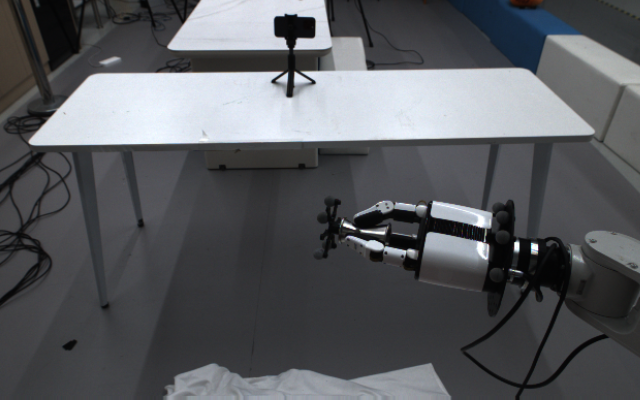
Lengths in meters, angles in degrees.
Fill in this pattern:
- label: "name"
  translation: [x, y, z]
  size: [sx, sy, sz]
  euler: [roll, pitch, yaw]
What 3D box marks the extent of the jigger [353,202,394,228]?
- label: "jigger"
  translation: [0.071, 0.046, 0.692]
  size: [0.071, 0.043, 0.043]
  euler: [9, 35, 17]
